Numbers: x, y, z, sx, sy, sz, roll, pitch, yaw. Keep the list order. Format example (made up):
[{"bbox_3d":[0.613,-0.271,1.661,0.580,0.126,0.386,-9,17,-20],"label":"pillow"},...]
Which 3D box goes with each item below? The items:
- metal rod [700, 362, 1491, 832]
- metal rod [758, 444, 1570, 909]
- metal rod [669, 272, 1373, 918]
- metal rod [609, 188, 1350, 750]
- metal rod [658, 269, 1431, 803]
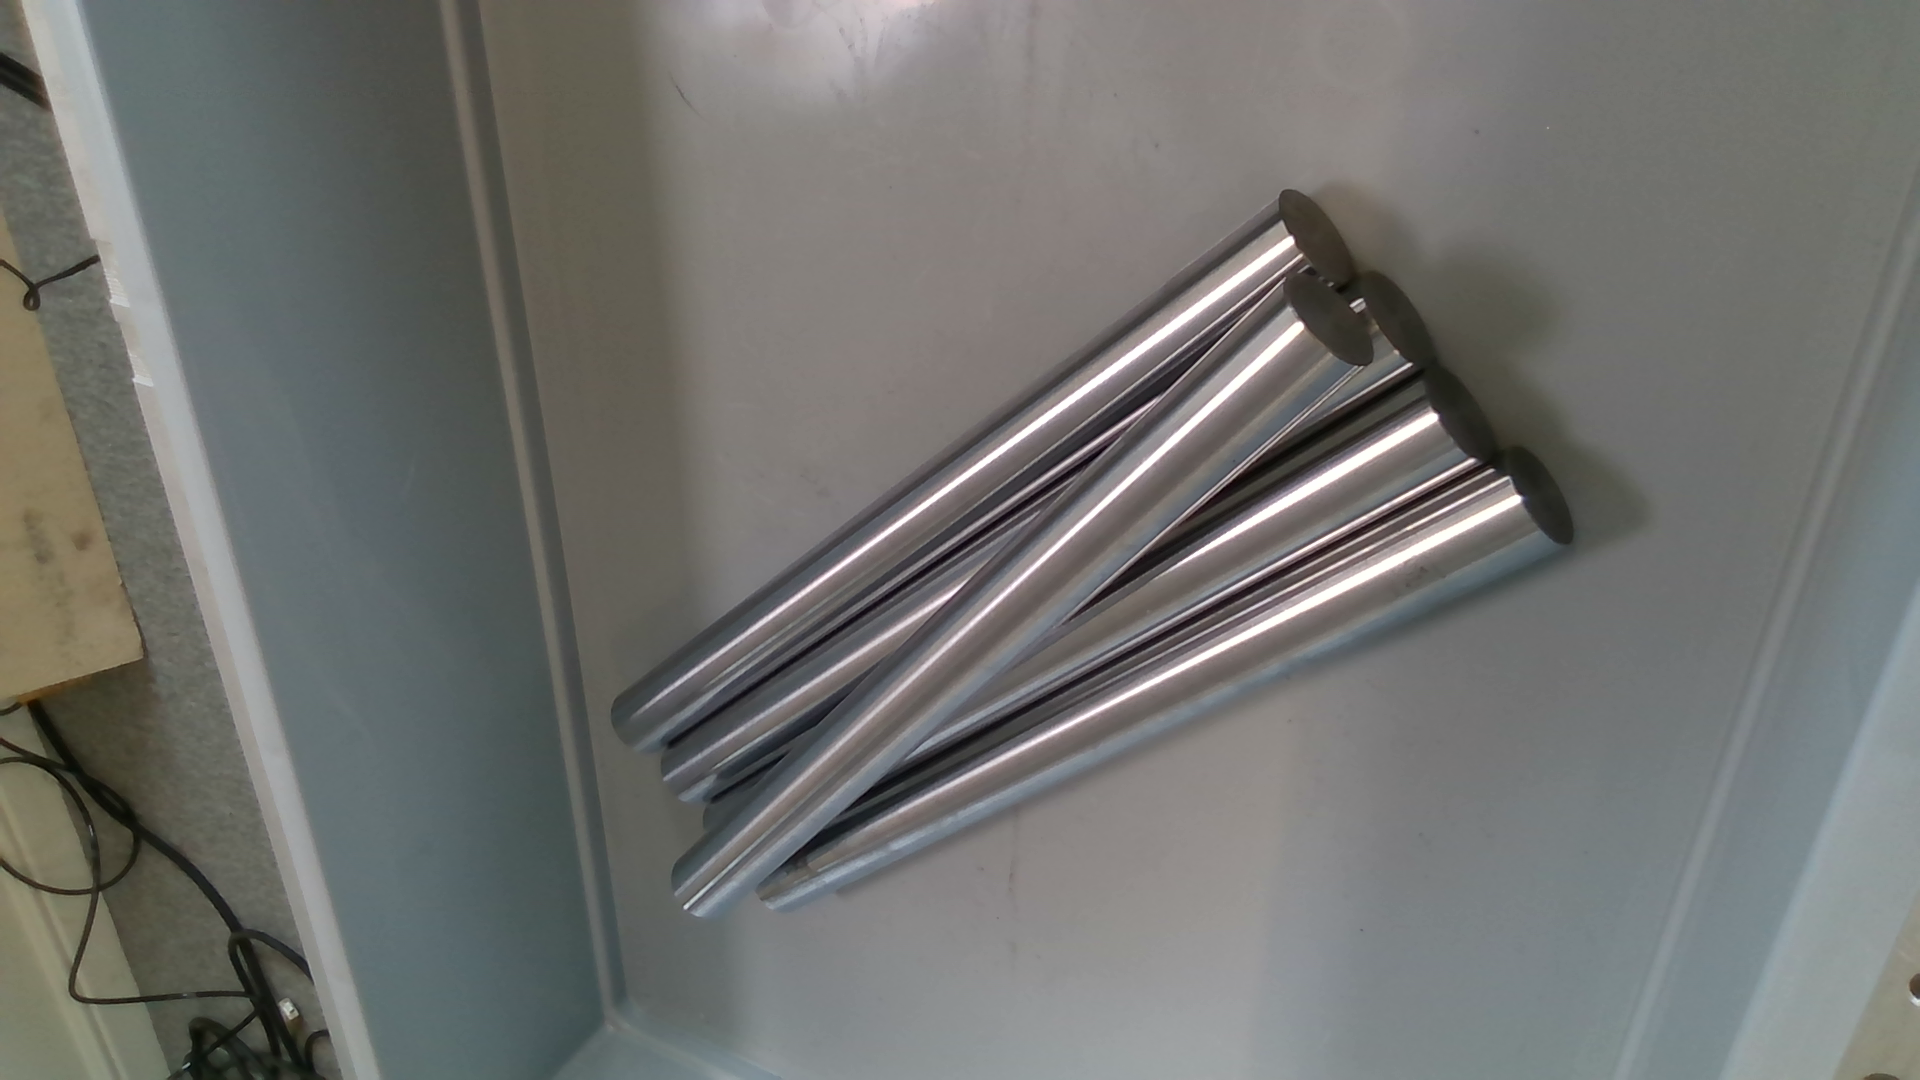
[{"bbox_3d":[0.014,0.037,0.400,0.301,0.025,0.025,-34,95,39],"label":"metal rod"},{"bbox_3d":[0.031,0.055,0.399,0.301,0.025,0.025,-34,95,39],"label":"metal rod"},{"bbox_3d":[-0.007,0.036,0.379,0.025,0.025,0.301,46,129,2],"label":"metal rod"},{"bbox_3d":[-0.018,-0.002,0.398,0.301,0.025,0.025,-34,95,39],"label":"metal rod"},{"bbox_3d":[0.000,0.017,0.397,0.301,0.025,0.025,-34,95,39],"label":"metal rod"}]
